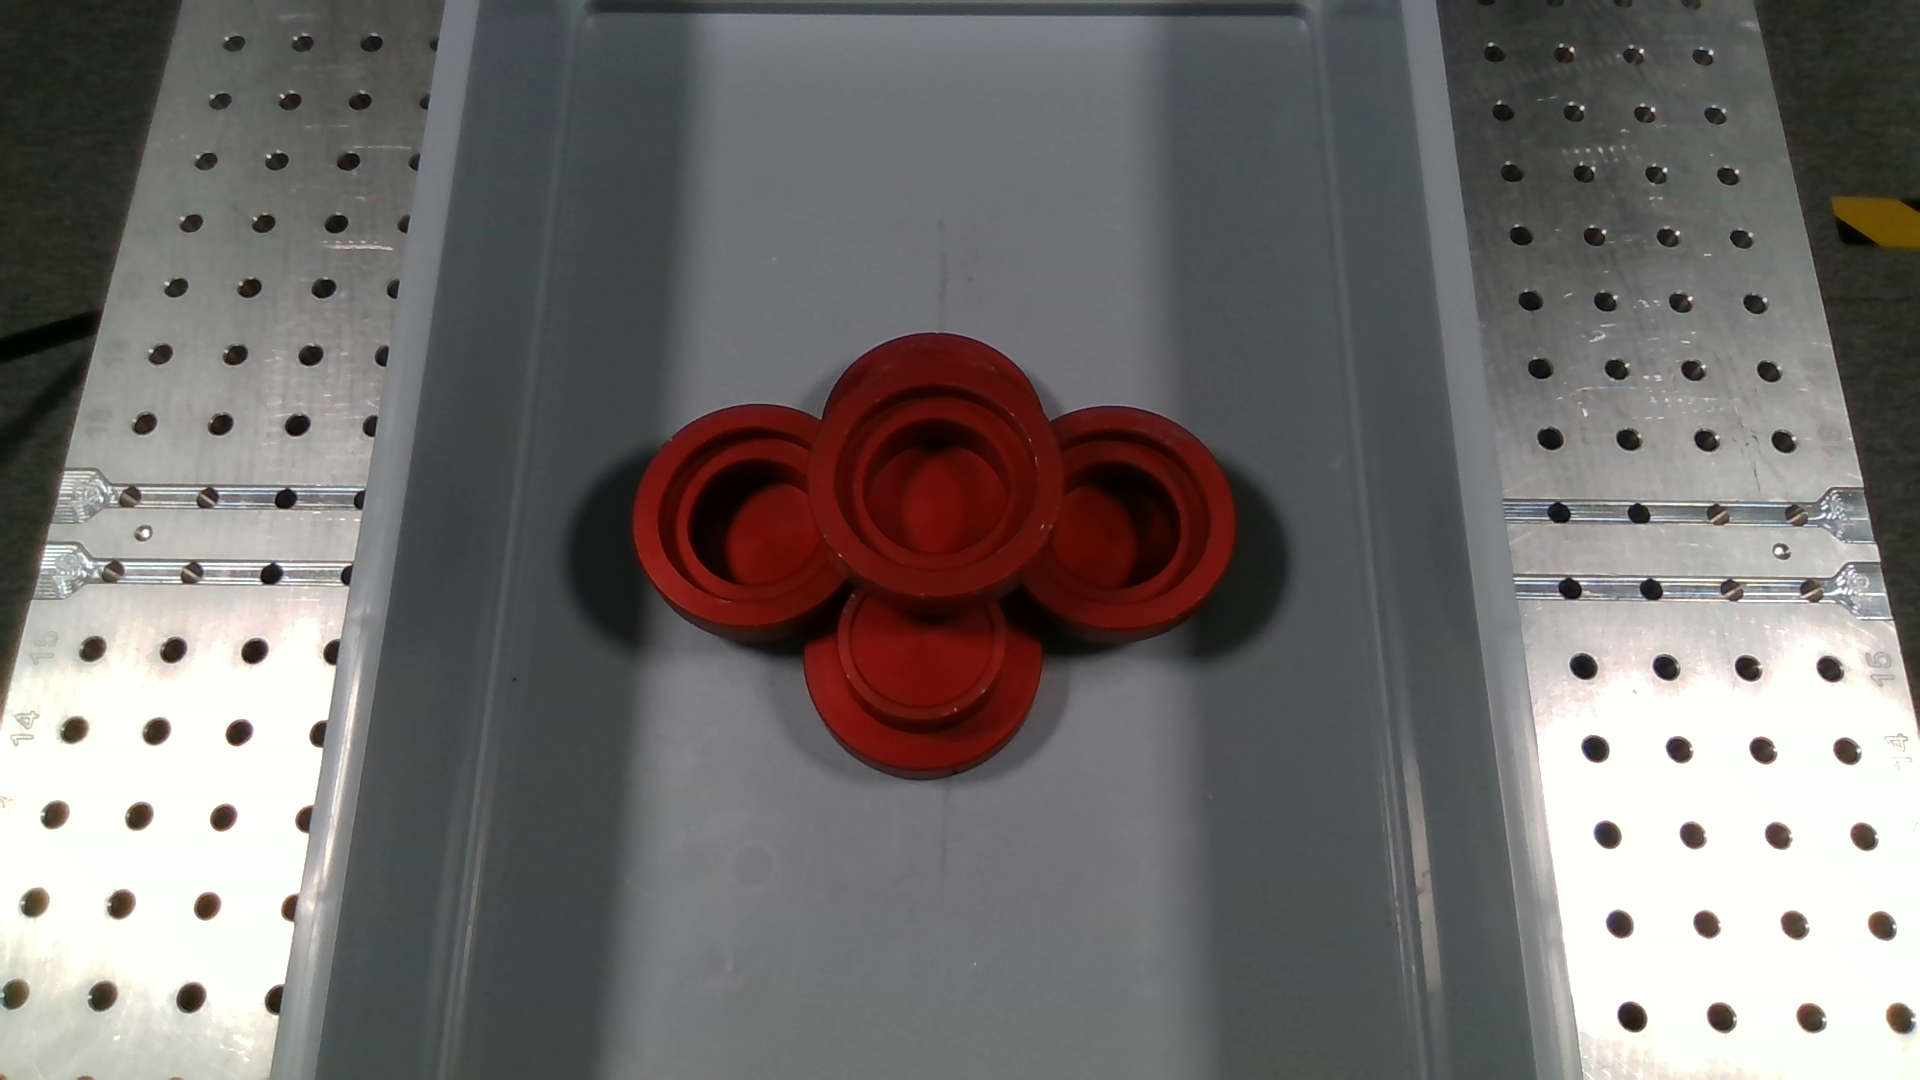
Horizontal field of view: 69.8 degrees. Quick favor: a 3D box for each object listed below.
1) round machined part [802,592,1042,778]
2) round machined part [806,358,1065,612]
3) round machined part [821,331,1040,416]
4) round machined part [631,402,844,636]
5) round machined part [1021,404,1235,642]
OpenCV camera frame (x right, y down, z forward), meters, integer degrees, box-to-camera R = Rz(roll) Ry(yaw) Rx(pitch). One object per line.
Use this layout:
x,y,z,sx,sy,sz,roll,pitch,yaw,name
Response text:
-0.015,0.045,0.561,0.098,0.042,0.098,0,70,0,round machined part
-0.009,-0.018,0.539,0.098,0.042,0.098,0,70,0,round machined part
-0.012,-0.047,0.595,0.098,0.042,0.098,0,70,0,round machined part
-0.085,-0.005,0.579,0.098,0.042,0.098,0,70,0,round machined part
0.063,-0.004,0.579,0.098,0.042,0.098,0,70,0,round machined part
